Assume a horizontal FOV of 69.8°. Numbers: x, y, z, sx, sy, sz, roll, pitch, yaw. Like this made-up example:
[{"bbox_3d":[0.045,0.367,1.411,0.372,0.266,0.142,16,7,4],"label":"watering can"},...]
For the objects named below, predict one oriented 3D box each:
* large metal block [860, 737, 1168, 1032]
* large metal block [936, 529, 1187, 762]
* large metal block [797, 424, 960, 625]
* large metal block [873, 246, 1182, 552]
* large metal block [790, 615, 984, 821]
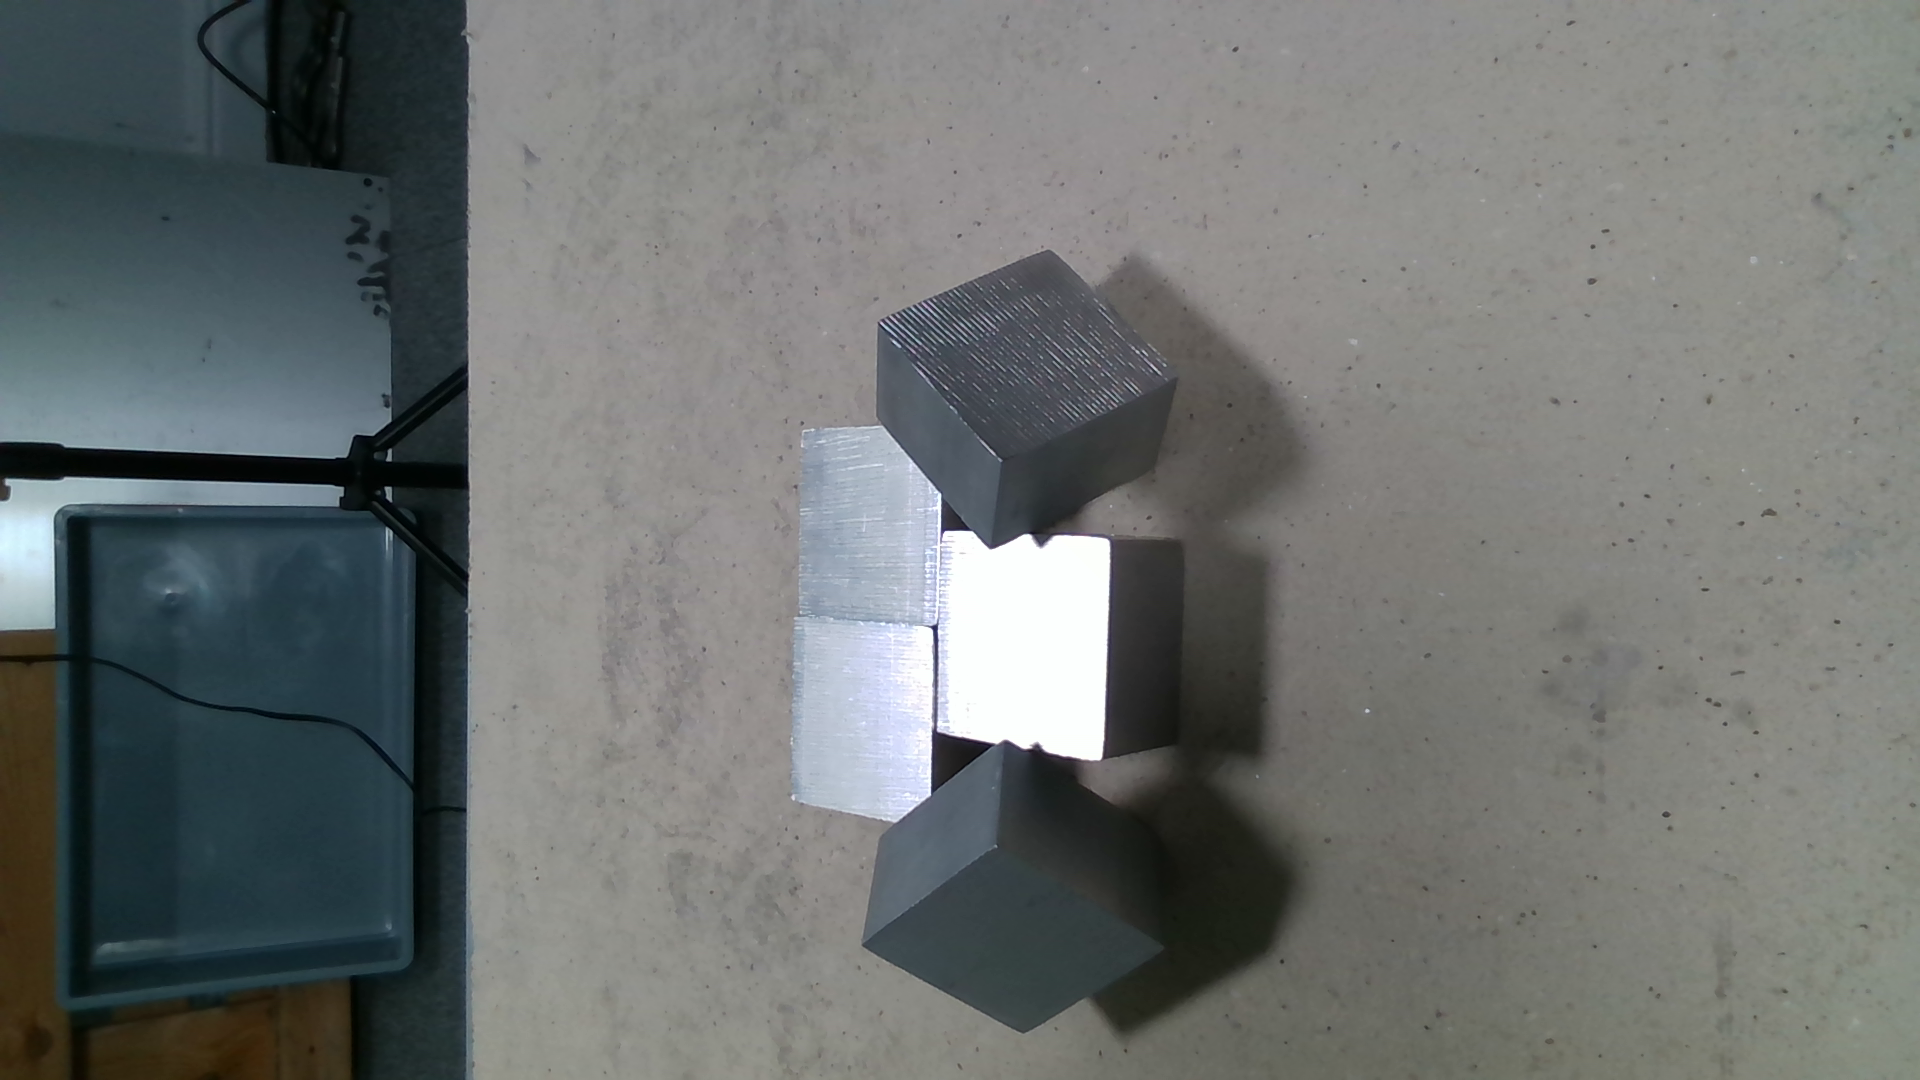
[{"bbox_3d":[0.021,0.132,0.522,0.080,0.080,0.050,-43,24,32],"label":"large metal block"},{"bbox_3d":[0.039,0.037,0.534,0.080,0.050,0.080,4,93,40],"label":"large metal block"},{"bbox_3d":[-0.023,-0.007,0.584,0.080,0.050,0.080,2,92,40],"label":"large metal block"},{"bbox_3d":[0.023,-0.055,0.517,0.080,0.080,0.050,50,154,28],"label":"large metal block"},{"bbox_3d":[-0.026,0.073,0.586,0.080,0.050,0.080,2,92,40],"label":"large metal block"}]
